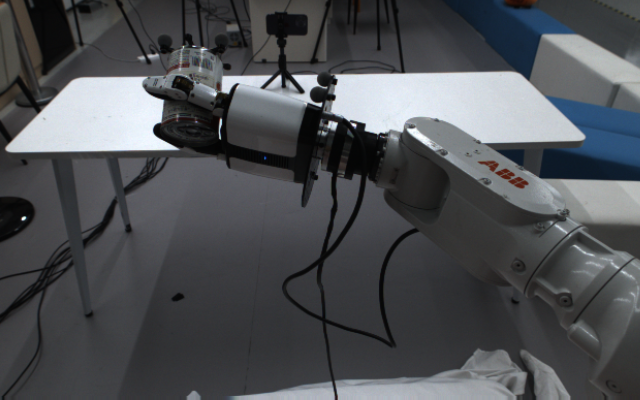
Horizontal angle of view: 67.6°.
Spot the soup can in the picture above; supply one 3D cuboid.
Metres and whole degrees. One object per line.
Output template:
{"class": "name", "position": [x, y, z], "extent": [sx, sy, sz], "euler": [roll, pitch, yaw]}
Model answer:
{"class": "soup can", "position": [-0.152, -0.123, 0.581], "extent": [0.067, 0.067, 0.101], "euler": [1, 73, -2]}
